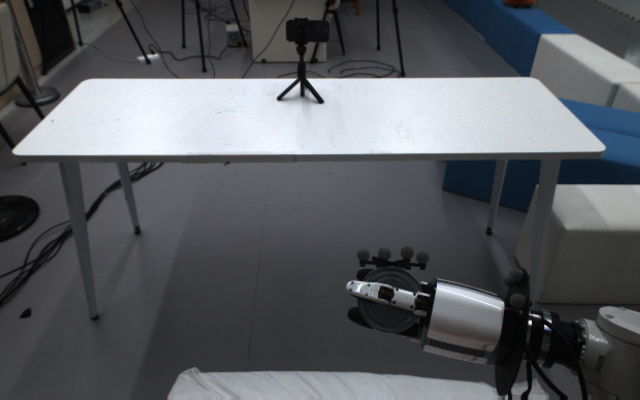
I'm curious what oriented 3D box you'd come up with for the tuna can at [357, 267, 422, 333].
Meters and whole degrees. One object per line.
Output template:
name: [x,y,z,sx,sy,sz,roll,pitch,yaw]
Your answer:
tuna can: [0.095,0.129,0.637,0.085,0.034,0.085,-4,70,11]
